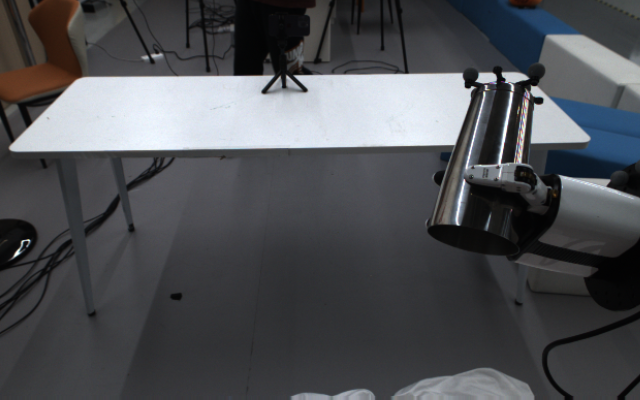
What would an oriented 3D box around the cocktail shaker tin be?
[{"bbox_3d":[0.181,-0.036,0.520,0.093,0.093,0.170,13,74,15],"label":"cocktail shaker tin"}]
